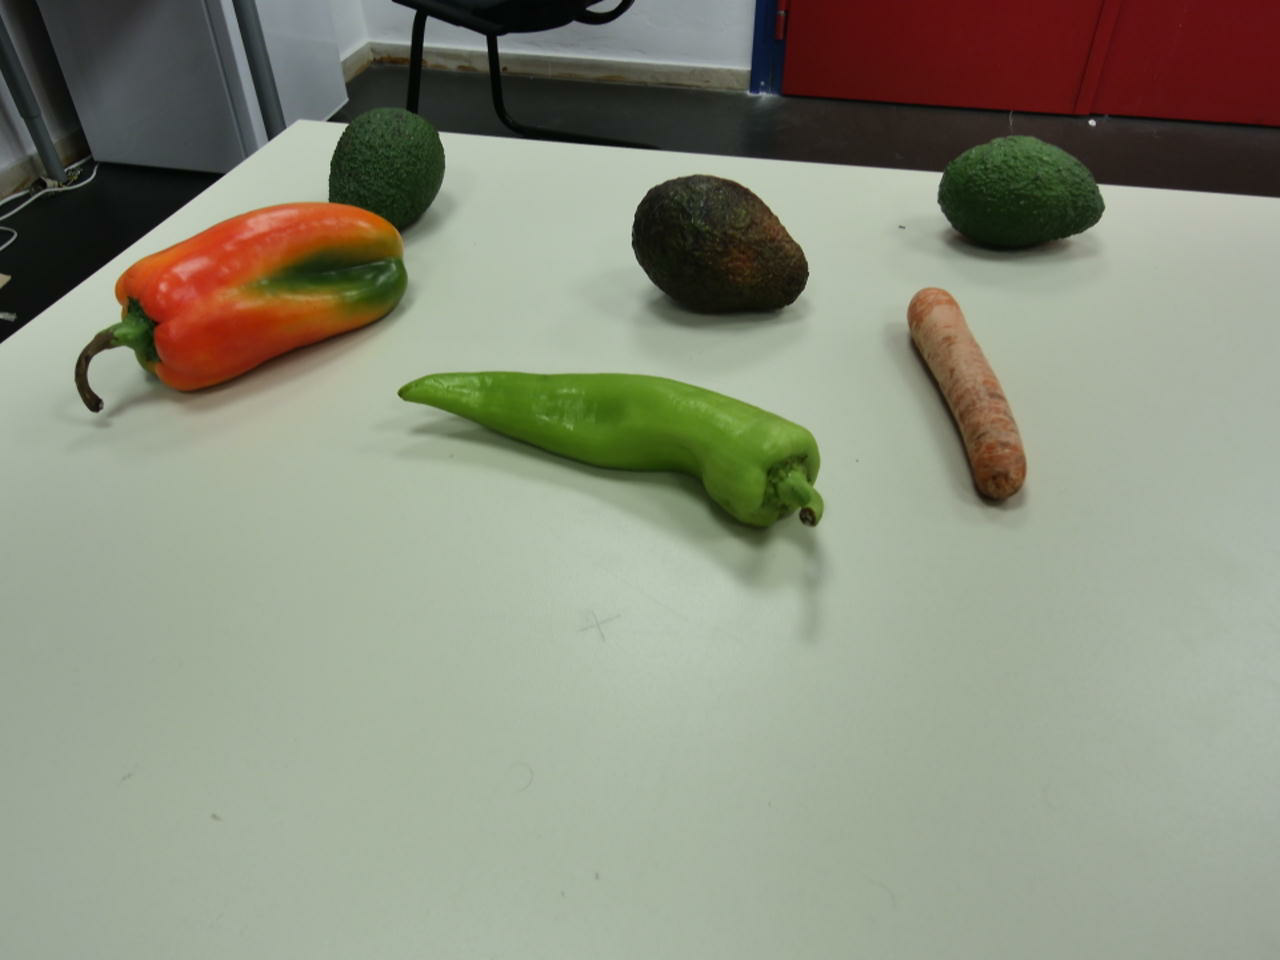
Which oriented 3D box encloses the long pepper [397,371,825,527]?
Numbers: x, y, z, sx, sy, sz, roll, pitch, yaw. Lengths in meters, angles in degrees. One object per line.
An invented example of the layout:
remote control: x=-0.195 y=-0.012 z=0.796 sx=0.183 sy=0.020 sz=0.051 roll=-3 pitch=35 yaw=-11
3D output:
long pepper: x=-0.007 y=-0.024 z=0.441 sx=0.205 sy=0.045 sz=0.065 roll=19 pitch=42 yaw=23
